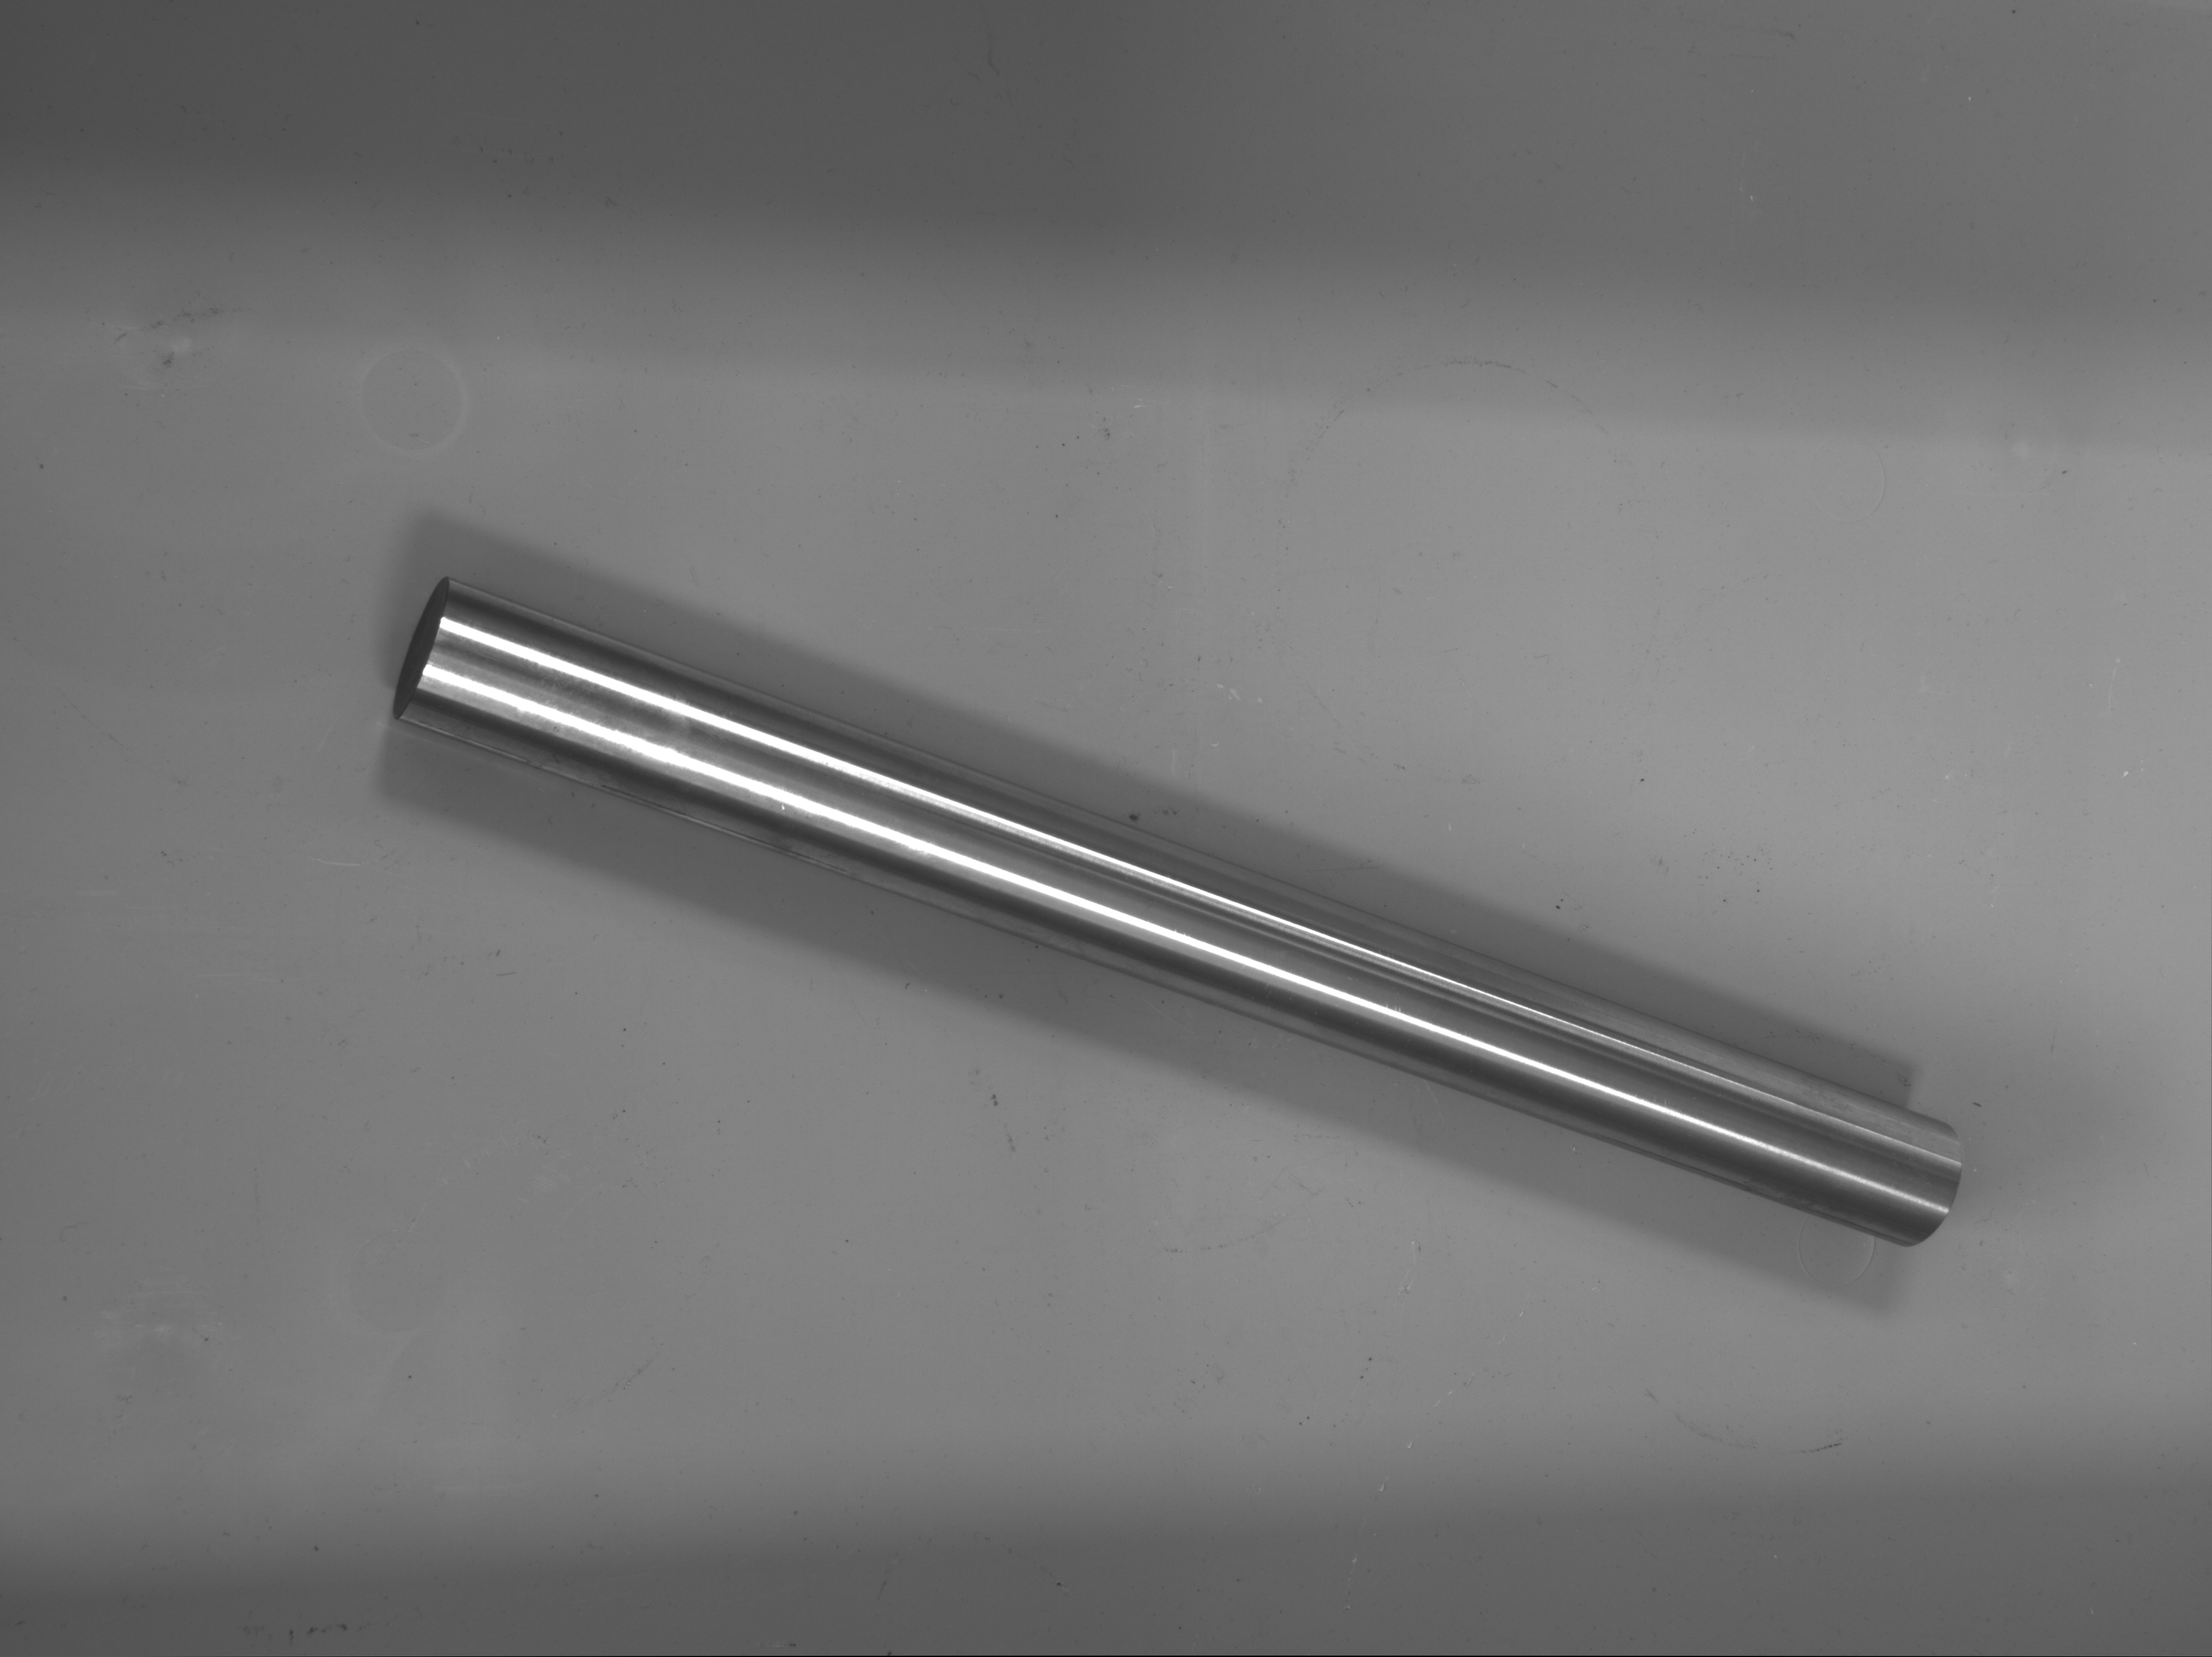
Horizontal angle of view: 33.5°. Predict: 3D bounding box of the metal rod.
[{"bbox_3d":[0.021,0.019,0.649,0.301,0.025,0.025,20,83,-19],"label":"metal rod"}]
